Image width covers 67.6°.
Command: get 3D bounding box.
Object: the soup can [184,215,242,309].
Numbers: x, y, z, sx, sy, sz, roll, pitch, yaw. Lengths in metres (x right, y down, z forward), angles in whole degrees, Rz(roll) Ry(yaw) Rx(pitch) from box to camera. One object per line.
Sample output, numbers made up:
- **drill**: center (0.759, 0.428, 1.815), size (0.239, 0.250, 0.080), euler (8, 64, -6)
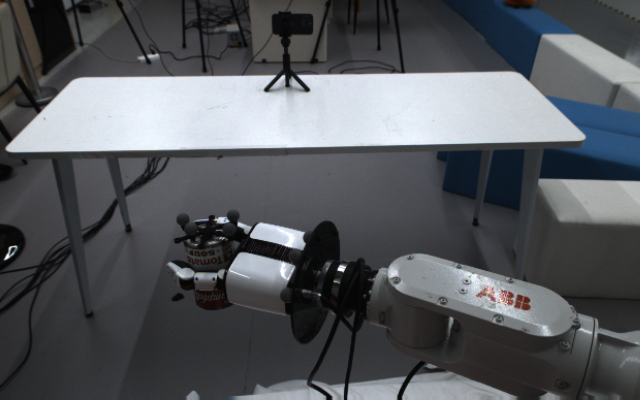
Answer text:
- **soup can**: center (-0.146, 0.092, 0.670), size (0.067, 0.101, 0.067), euler (-4, 25, 2)
